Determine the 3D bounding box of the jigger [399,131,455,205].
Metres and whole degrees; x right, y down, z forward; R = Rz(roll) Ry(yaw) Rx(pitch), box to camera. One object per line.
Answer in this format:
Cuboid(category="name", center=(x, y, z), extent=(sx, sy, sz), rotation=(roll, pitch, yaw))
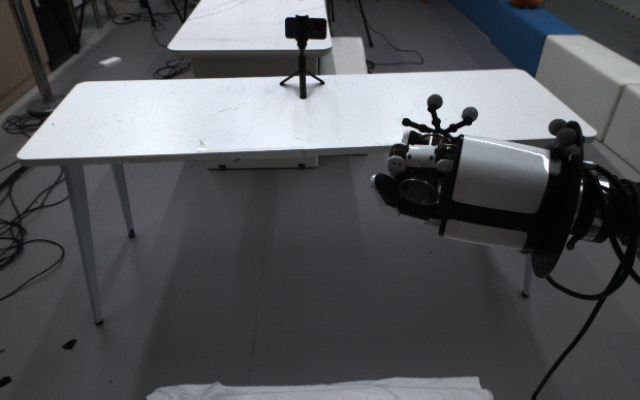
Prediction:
Cuboid(category="jigger", center=(0.117, -0.037, 0.522), extent=(0.043, 0.043, 0.071), rotation=(16, 59, 19))
